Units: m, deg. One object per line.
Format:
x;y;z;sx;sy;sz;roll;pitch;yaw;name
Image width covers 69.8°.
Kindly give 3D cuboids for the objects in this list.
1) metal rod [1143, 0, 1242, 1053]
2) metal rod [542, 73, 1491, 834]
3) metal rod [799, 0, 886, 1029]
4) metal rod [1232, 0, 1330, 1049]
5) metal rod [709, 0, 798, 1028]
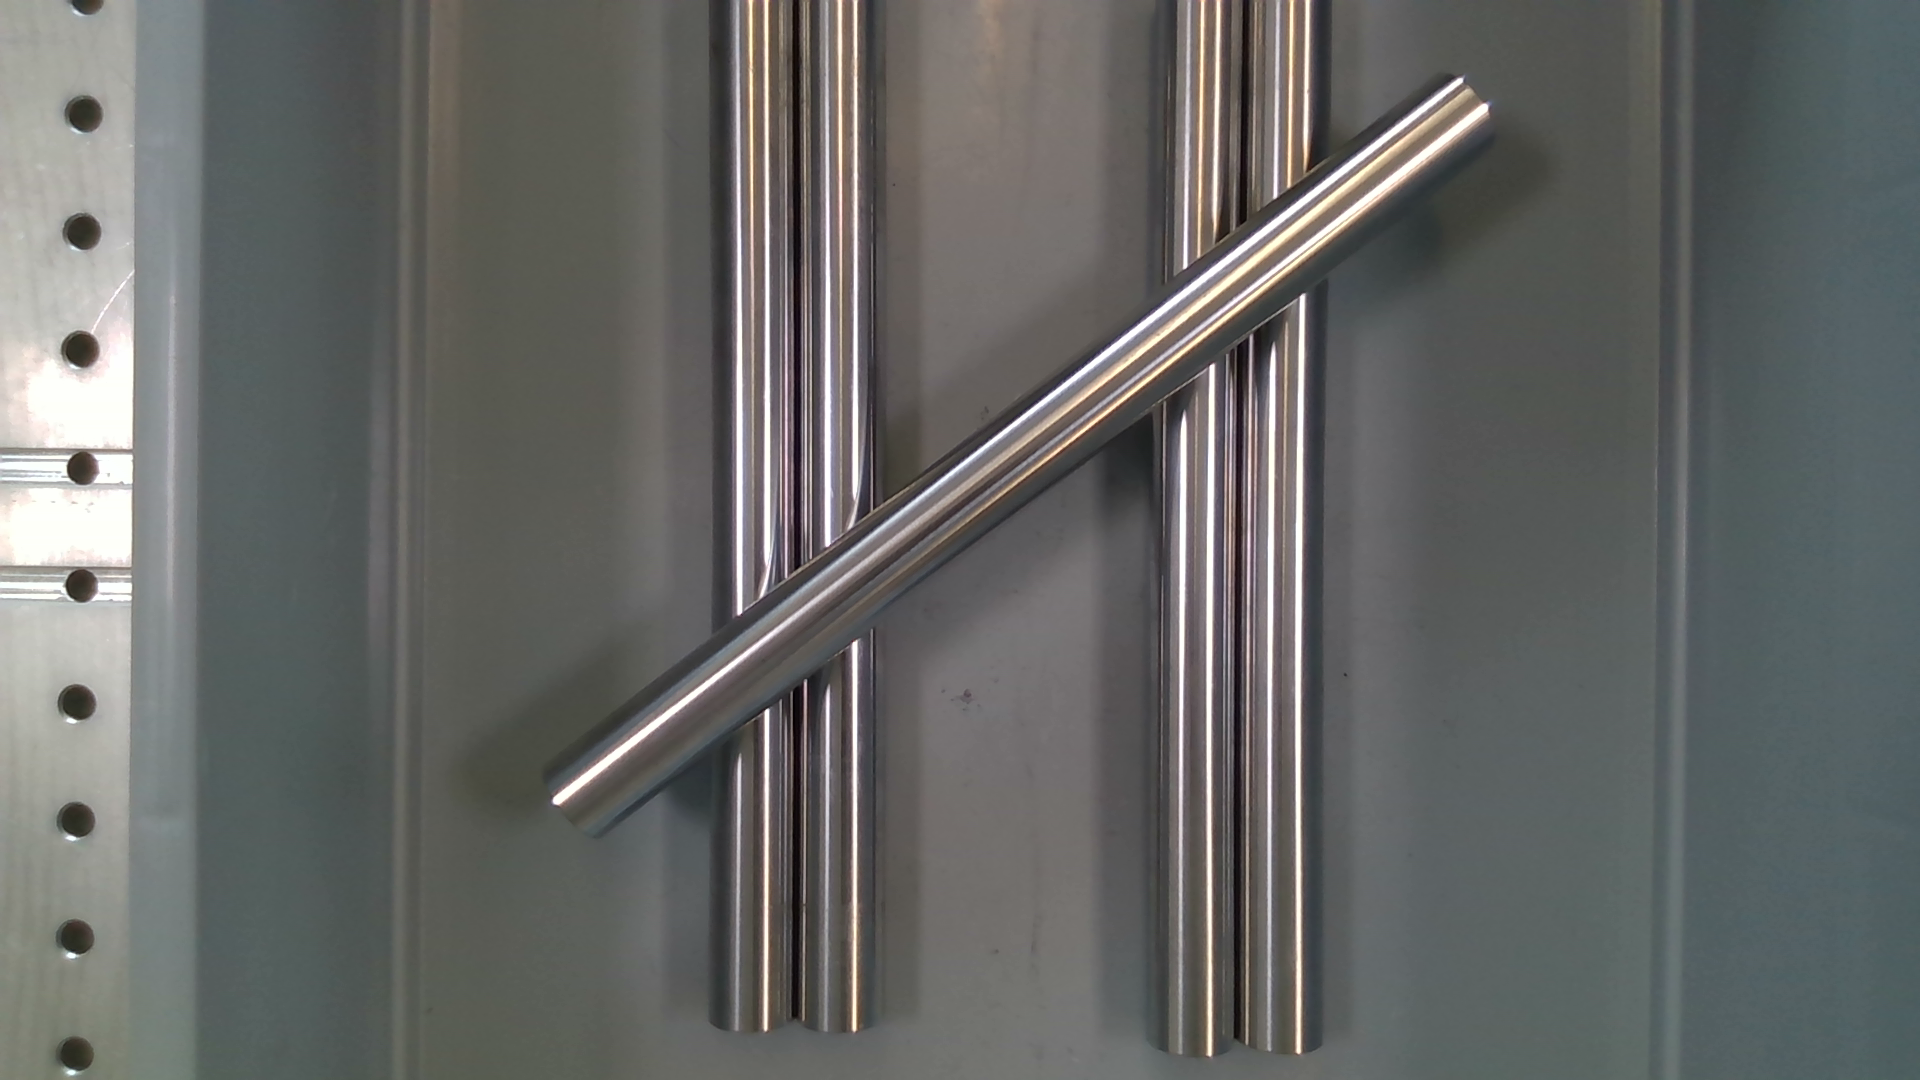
0.066;-0.008;0.394;0.025;0.025;0.300;1;90;0;metal rod
0.015;-0.023;0.370;0.300;0.025;0.025;-38;90;0;metal rod
-0.034;-0.014;0.394;0.025;0.025;0.300;0;90;0;metal rod
0.092;-0.009;0.394;0.025;0.025;0.300;1;90;0;metal rod
-0.059;-0.014;0.394;0.025;0.025;0.300;0;90;0;metal rod
